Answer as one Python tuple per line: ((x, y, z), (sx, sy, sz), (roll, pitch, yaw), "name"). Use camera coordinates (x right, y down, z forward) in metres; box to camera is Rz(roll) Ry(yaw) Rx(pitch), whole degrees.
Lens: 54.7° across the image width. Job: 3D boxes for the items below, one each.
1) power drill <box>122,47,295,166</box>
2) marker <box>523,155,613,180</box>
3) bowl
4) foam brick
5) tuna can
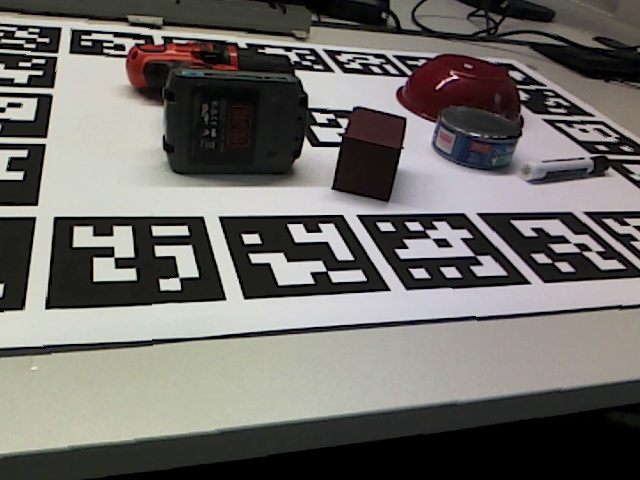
((-0.090, -0.135, 0.600), (0.183, 0.057, 0.188), (0, 32, -23), "power drill")
((0.262, -0.077, 0.644), (0.120, 0.019, 0.020), (-8, 39, -28), "marker")
((0.174, -0.184, 0.769), (0.161, 0.055, 0.162), (4, 28, -3), "bowl")
((0.051, -0.071, 0.555), (0.051, 0.052, 0.078), (13, 34, -1), "foam brick")
((0.167, -0.109, 0.652), (0.085, 0.034, 0.086), (10, 32, -7), "tuna can")
